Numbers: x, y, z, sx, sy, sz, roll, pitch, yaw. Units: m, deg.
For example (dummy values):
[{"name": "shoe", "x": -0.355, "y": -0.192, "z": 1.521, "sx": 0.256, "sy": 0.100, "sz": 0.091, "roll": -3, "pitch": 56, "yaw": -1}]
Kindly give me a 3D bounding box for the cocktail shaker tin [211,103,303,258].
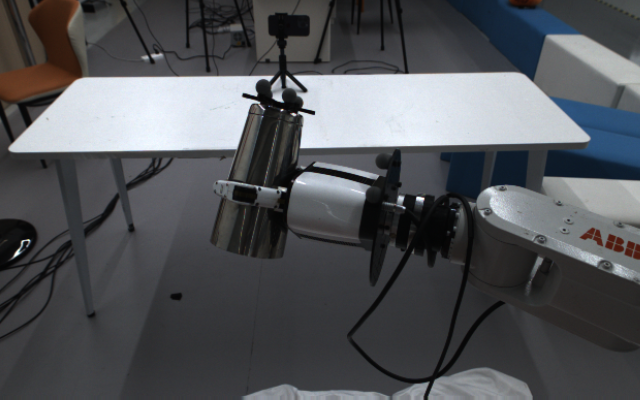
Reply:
[{"name": "cocktail shaker tin", "x": -0.069, "y": -0.024, "z": 0.585, "sx": 0.093, "sy": 0.170, "sz": 0.093, "roll": 13, "pitch": 4, "yaw": -1}]
